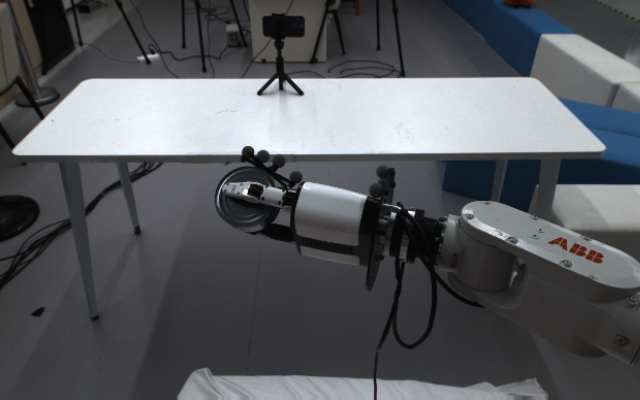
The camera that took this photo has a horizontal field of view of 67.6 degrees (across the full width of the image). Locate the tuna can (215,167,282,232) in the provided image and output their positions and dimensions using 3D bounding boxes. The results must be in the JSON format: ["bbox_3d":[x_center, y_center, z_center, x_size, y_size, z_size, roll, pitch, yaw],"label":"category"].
[{"bbox_3d":[-0.095,0.000,0.654,0.085,0.034,0.085,-2,71,6],"label":"tuna can"}]
